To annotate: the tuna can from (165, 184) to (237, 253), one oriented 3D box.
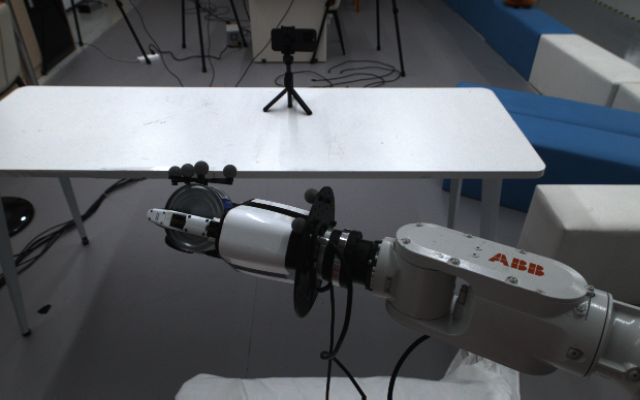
[{"bbox_3d":[-0.151,0.023,0.614,0.085,0.085,0.034,15,0,18],"label":"tuna can"}]
